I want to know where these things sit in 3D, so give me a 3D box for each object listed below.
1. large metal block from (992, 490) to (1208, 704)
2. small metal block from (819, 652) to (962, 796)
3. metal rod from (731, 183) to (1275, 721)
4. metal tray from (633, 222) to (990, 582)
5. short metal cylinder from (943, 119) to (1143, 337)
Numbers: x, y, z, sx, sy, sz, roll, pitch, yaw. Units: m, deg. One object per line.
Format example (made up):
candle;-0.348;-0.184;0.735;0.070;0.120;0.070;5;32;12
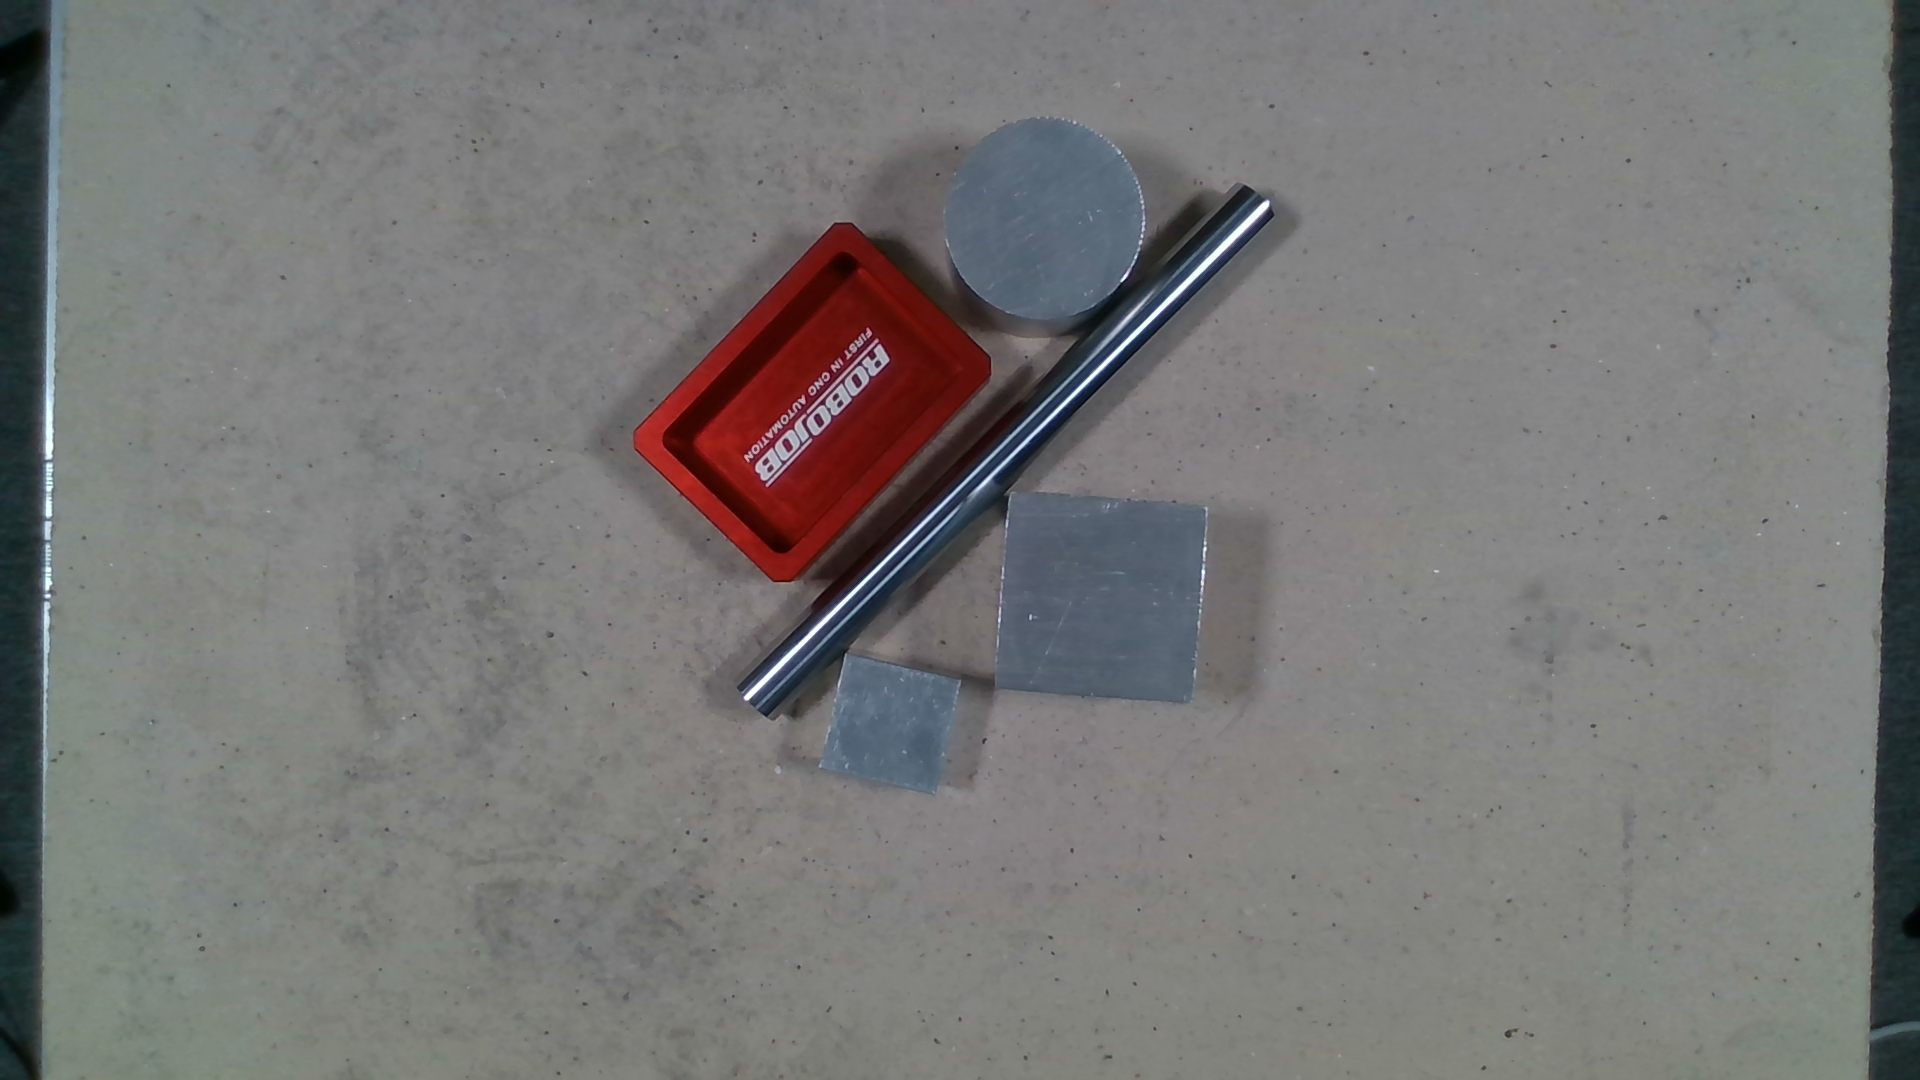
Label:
large metal block;0.056;0.023;0.575;0.080;0.050;0.080;4;90;0
small metal block;-0.029;0.077;0.588;0.050;0.025;0.050;13;90;0
metal rod;0.018;-0.037;0.586;0.300;0.025;0.025;-45;90;0
metal tray;-0.062;-0.057;0.584;0.090;0.030;0.130;44;90;0
short metal cylinder;0.033;-0.128;0.573;0.080;0.050;0.080;0;90;0
